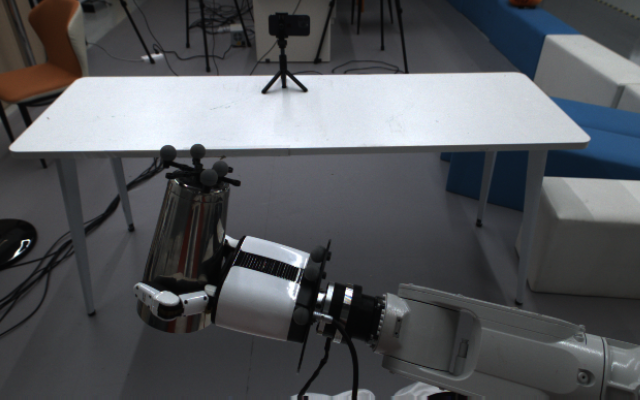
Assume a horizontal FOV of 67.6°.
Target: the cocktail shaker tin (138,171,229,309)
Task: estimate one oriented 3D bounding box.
[{"bbox_3d":[-0.150,0.055,0.554,0.093,0.170,0.093,14,20,-5],"label":"cocktail shaker tin"}]
